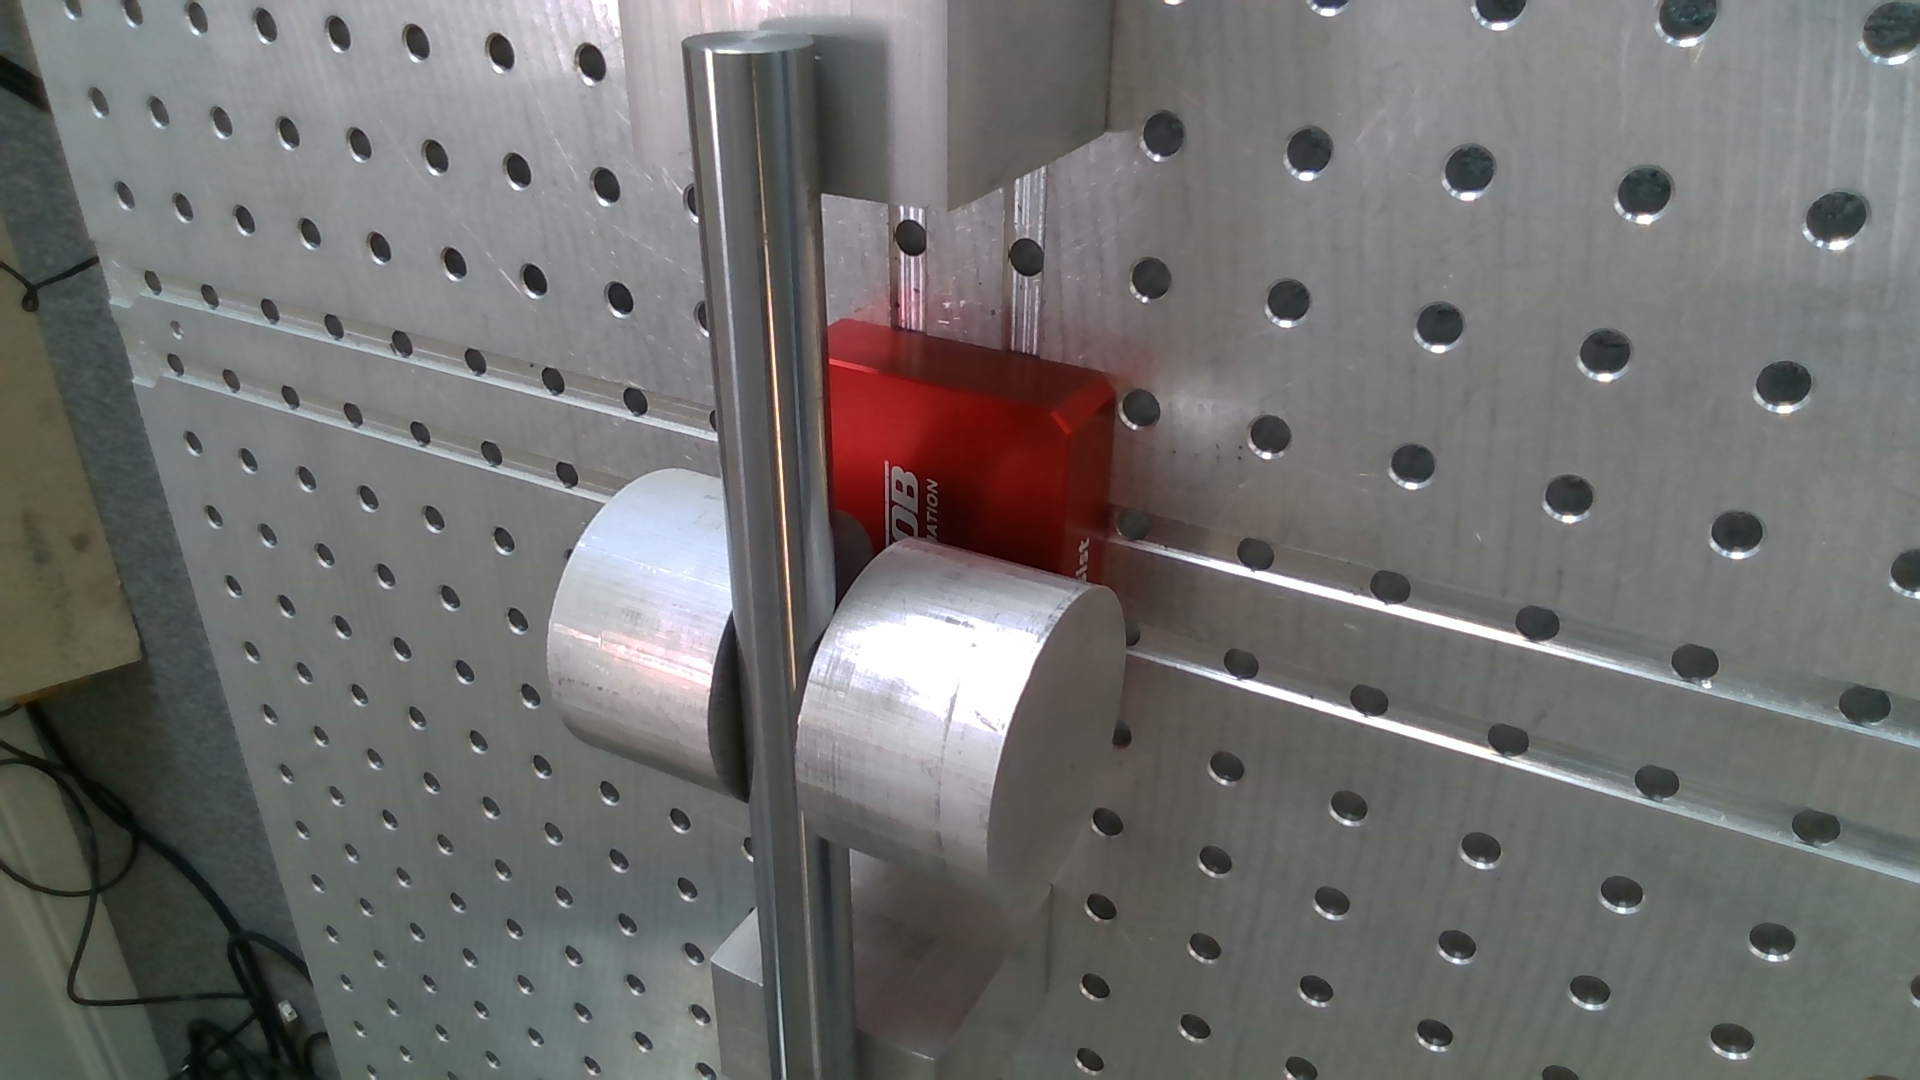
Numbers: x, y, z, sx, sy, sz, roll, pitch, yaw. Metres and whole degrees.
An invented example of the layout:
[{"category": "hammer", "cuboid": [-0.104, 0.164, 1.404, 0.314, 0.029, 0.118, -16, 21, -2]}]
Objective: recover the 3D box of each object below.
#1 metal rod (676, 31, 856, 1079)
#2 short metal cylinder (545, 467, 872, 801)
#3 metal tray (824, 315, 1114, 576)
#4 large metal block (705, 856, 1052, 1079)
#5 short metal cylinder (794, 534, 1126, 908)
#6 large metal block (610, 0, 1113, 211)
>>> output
[{"category": "metal rod", "cuboid": [-0.042, 0.037, 0.334, 0.025, 0.025, 0.301, 15, 122, 24]}, {"category": "short metal cylinder", "cuboid": [-0.064, 0.024, 0.370, 0.050, 0.080, 0.080, 15, 122, 24]}, {"category": "metal tray", "cuboid": [-0.007, 0.008, 0.397, 0.090, 0.030, 0.130, 16, 122, 24]}, {"category": "large metal block", "cuboid": [-0.024, 0.142, 0.448, 0.080, 0.080, 0.050, 15, 122, 24]}, {"category": "short metal cylinder", "cuboid": [0.003, 0.043, 0.340, 0.050, 0.080, 0.080, 15, 122, 24]}, {"category": "large metal block", "cuboid": [-0.019, -0.112, 0.305, 0.080, 0.080, 0.050, 15, 122, 24]}]
